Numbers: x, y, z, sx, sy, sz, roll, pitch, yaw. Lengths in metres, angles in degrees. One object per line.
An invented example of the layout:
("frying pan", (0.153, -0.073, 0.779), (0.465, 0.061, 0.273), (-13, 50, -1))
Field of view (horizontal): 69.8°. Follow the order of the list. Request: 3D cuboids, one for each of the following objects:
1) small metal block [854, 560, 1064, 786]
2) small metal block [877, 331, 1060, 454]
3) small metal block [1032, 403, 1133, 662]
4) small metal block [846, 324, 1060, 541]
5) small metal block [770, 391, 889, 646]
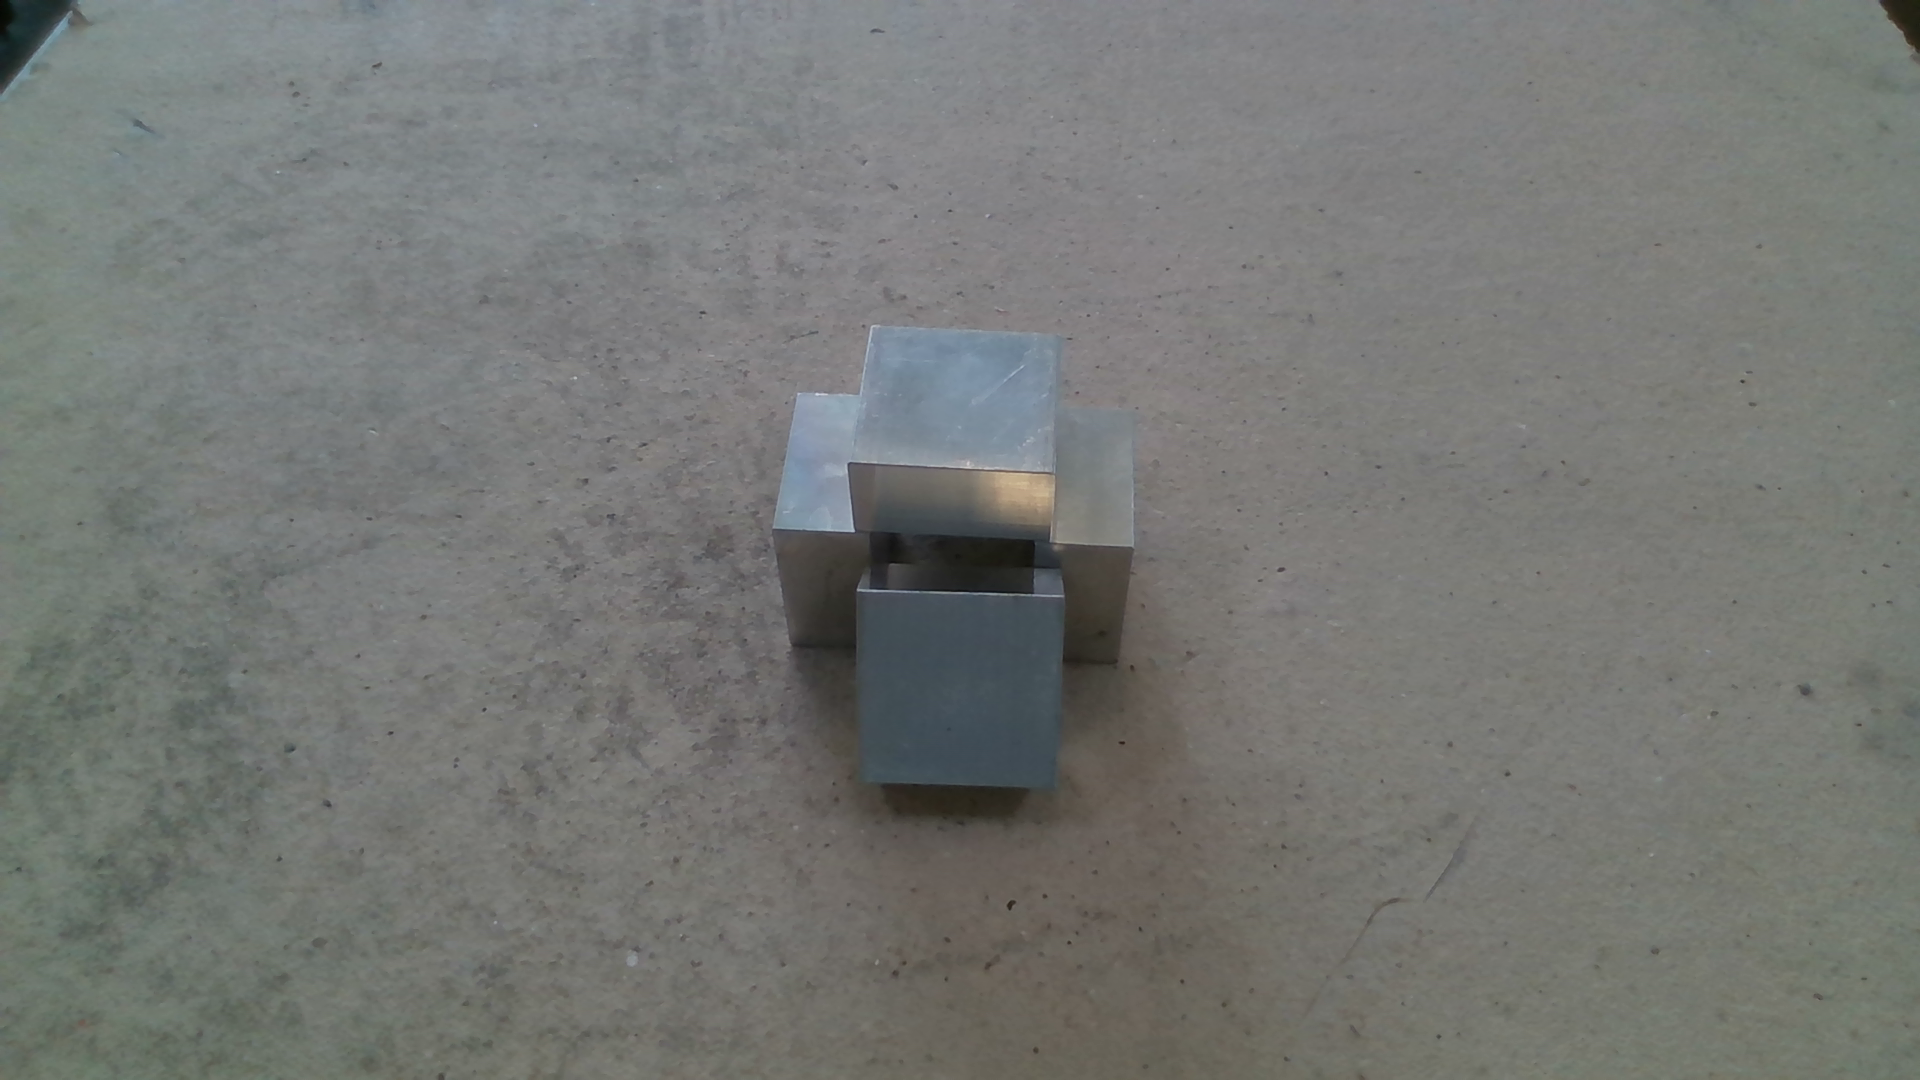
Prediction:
("small metal block", (0.000, 0.033, 0.347), (0.050, 0.050, 0.025), (1, 15, 1))
("small metal block", (0.003, -0.043, 0.411), (0.050, 0.050, 0.025), (3, 85, 3))
("small metal block", (0.033, -0.002, 0.379), (0.025, 0.050, 0.050), (3, 50, 3))
("small metal block", (-0.001, -0.028, 0.353), (0.050, 0.025, 0.050), (3, 50, 3))
("small metal block", (-0.034, -0.005, 0.383), (0.025, 0.050, 0.050), (2, 50, 2))
